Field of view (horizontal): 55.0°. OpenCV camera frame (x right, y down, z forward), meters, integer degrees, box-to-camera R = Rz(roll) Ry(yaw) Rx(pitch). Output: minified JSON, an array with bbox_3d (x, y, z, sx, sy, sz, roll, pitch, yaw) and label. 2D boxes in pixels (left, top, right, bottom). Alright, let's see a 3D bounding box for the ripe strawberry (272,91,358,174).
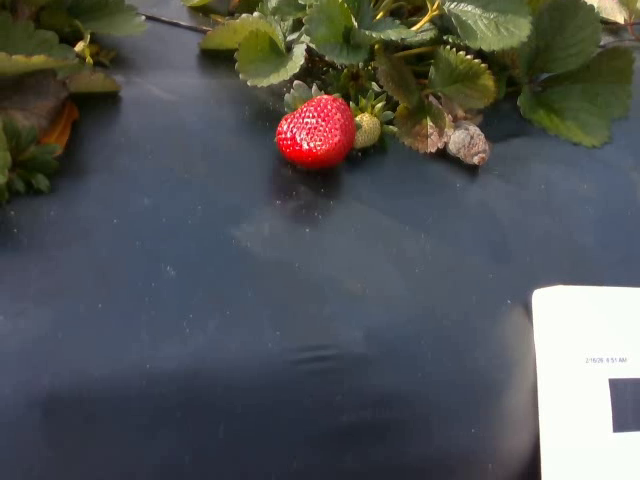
[{"bbox_3d":[-0.001,-0.052,0.302,0.045,0.051,0.058,6,27,-16],"label":"ripe strawberry"}]
